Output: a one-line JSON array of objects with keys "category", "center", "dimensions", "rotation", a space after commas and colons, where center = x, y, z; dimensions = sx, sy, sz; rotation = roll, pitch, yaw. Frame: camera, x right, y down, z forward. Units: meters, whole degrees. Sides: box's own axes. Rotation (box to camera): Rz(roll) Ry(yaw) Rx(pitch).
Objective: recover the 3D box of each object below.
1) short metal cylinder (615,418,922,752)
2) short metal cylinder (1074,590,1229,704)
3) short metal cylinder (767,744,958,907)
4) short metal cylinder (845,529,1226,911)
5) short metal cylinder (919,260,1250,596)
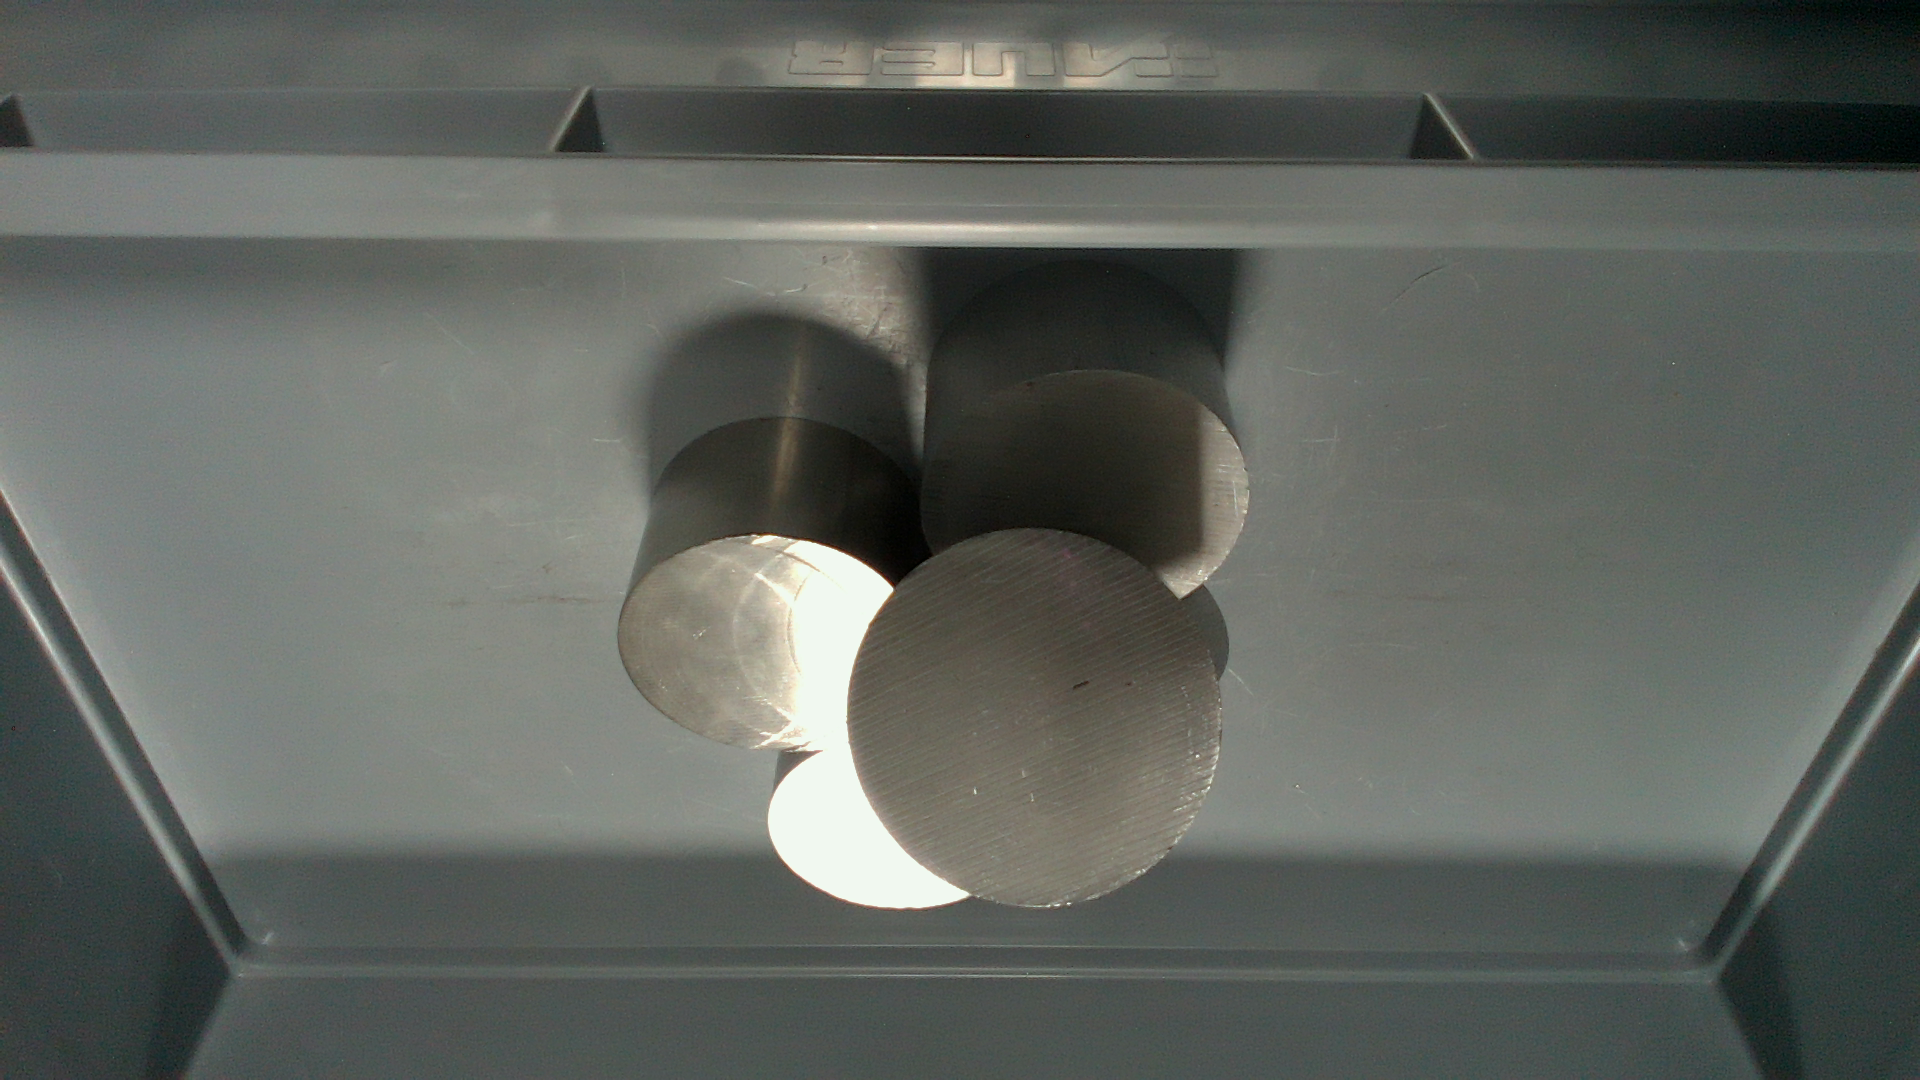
[{"category": "short metal cylinder", "center": [-0.051, 0.013, 0.383], "dimensions": [0.080, 0.050, 0.080], "rotation": [0, 130, 0]}, {"category": "short metal cylinder", "center": [0.028, 0.036, 0.384], "dimensions": [0.080, 0.080, 0.050], "rotation": [10, 129, -9]}, {"category": "short metal cylinder", "center": [-0.018, 0.070, 0.431], "dimensions": [0.080, 0.050, 0.080], "rotation": [0, 130, 0]}, {"category": "short metal cylinder", "center": [0.018, 0.038, 0.313], "dimensions": [0.080, 0.050, 0.080], "rotation": [0, 90, 7]}, {"category": "short metal cylinder", "center": [0.030, -0.024, 0.353], "dimensions": [0.080, 0.050, 0.080], "rotation": [0, 130, 0]}]
